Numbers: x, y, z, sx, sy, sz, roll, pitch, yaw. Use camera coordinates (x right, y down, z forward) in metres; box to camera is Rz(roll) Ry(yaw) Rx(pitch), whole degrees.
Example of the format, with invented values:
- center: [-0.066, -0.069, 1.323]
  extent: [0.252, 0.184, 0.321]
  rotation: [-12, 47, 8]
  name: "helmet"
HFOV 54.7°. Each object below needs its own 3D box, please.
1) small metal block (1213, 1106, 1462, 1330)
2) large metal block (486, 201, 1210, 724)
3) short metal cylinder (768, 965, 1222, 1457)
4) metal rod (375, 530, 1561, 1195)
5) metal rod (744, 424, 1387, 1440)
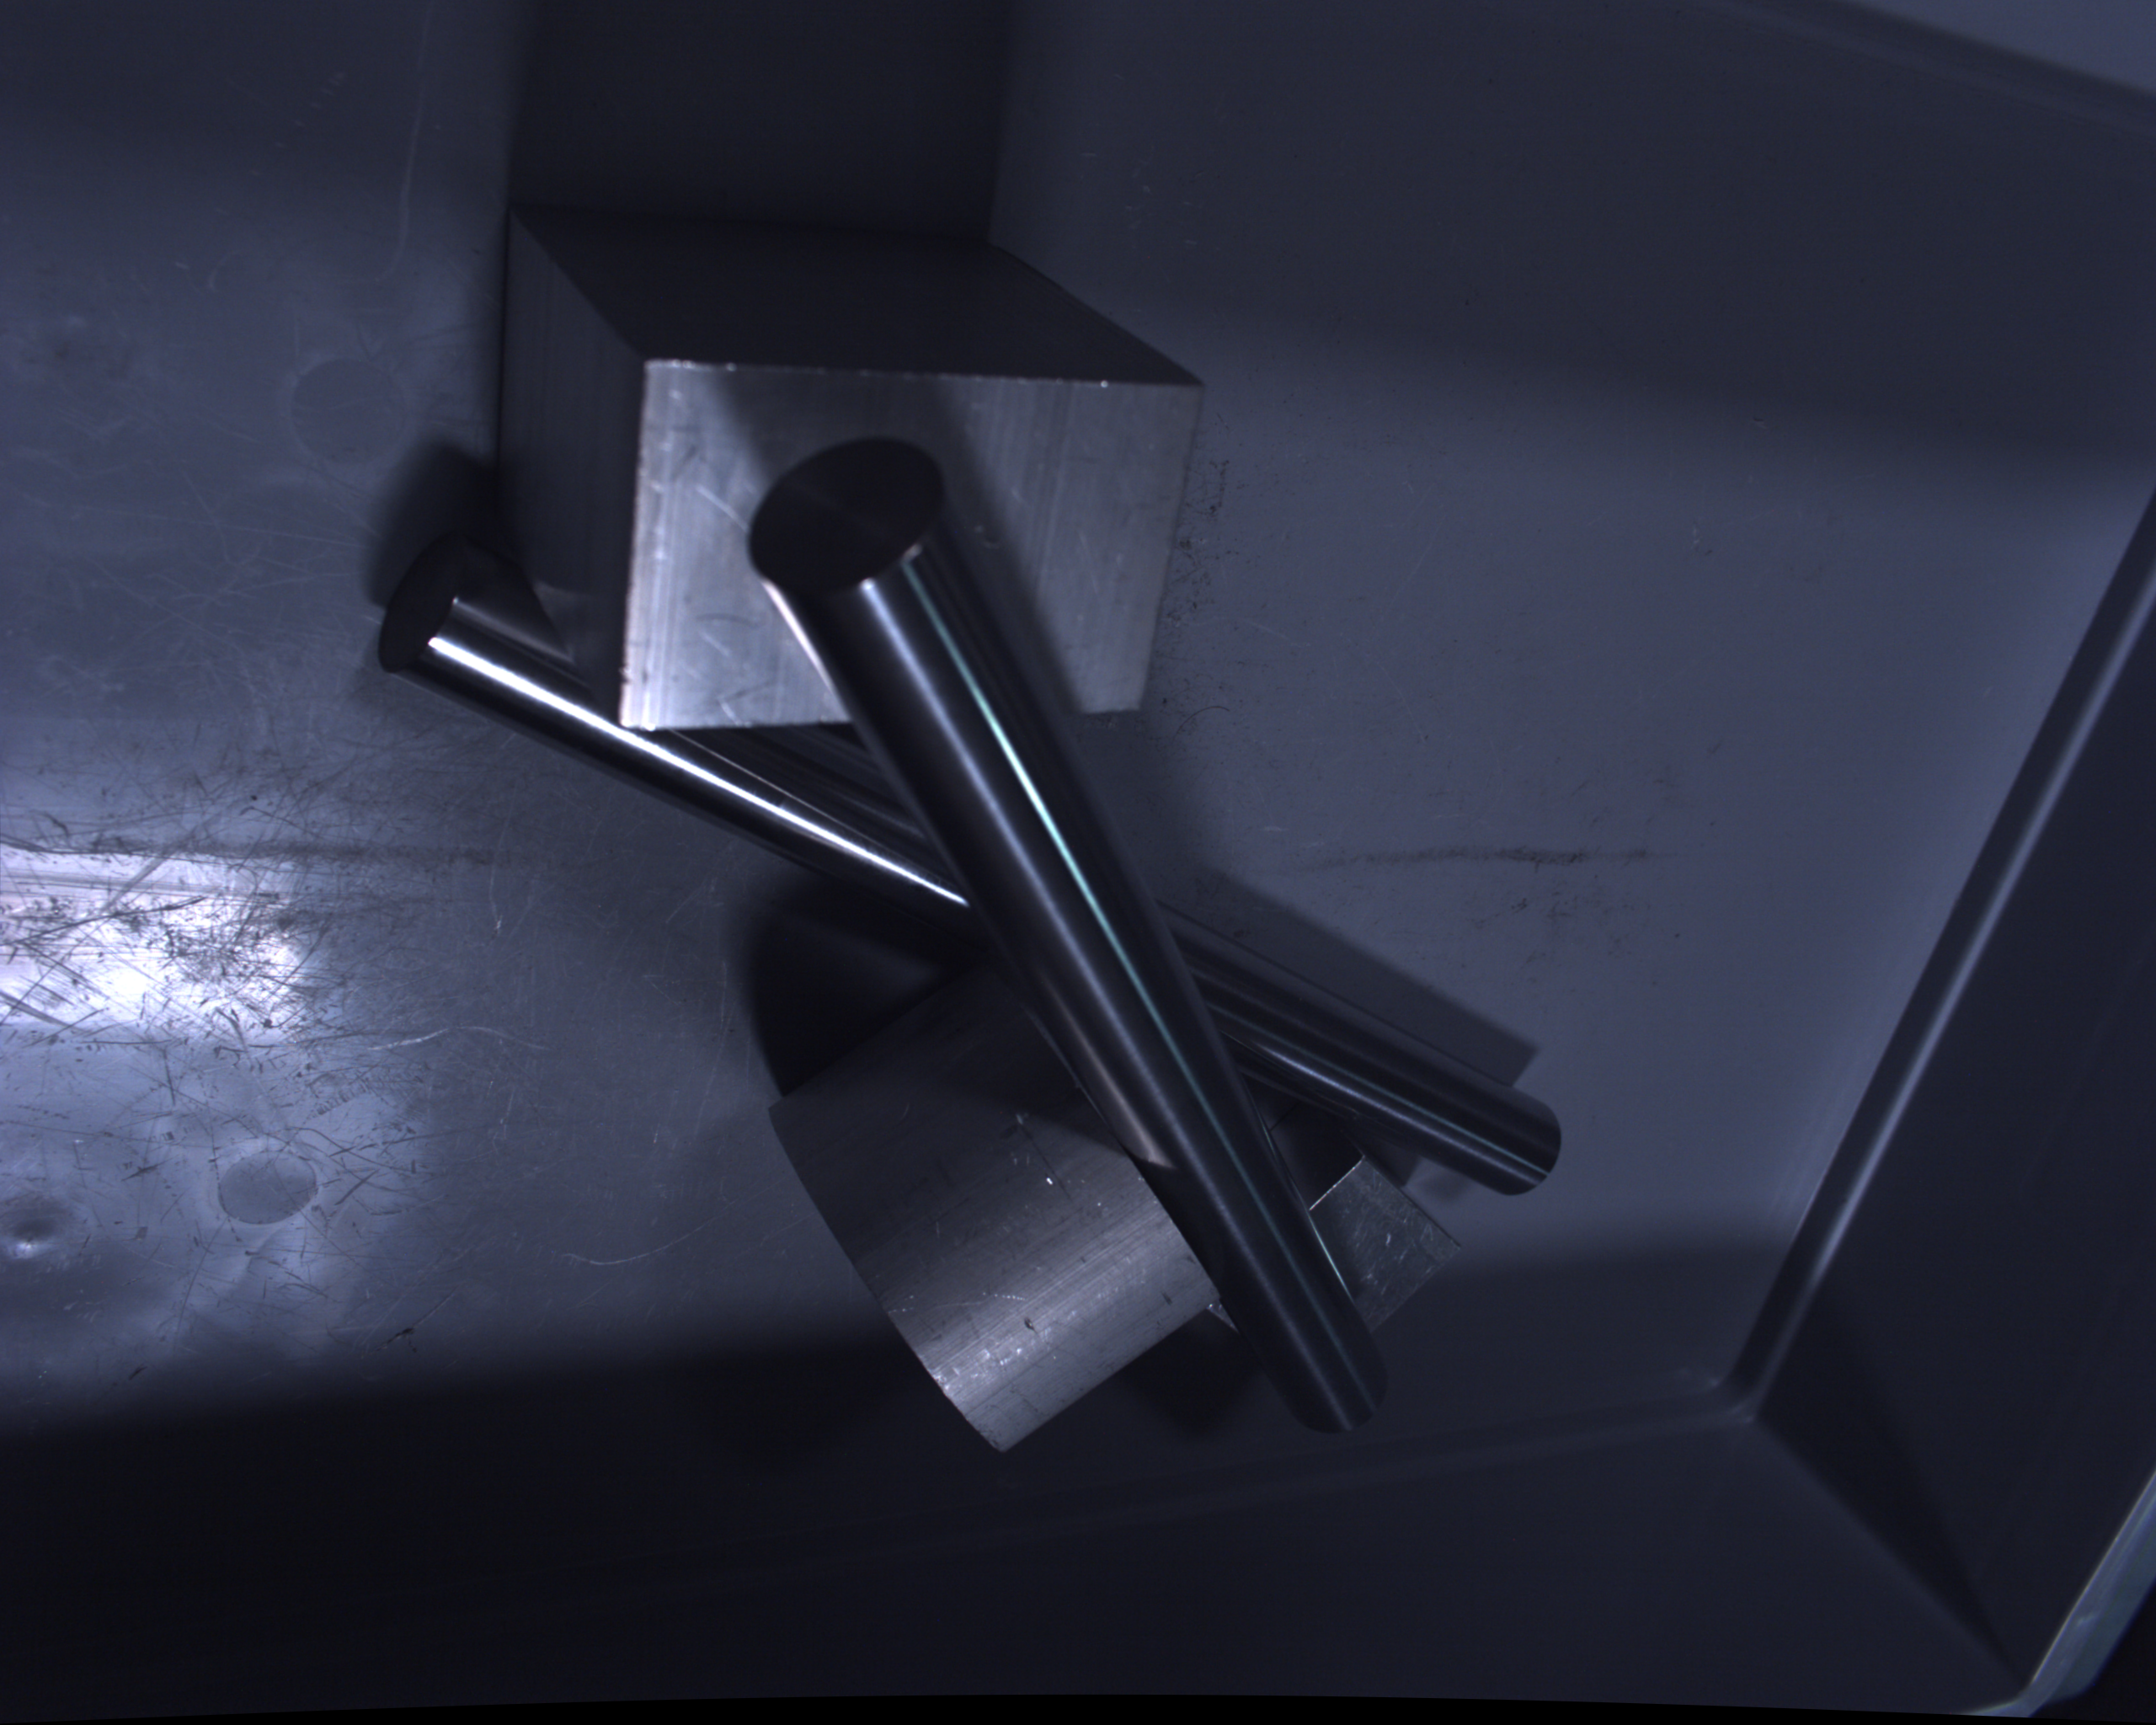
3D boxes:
- center: [0.055, 0.091, 0.496]
  extent: [0.050, 0.025, 0.050]
  rotation: [-44, 130, 2]
  name: "small metal block"
- center: [-0.039, -0.062, 0.314]
  extent: [0.081, 0.080, 0.050]
  rotation: [-4, 120, -27]
  name: "large metal block"
- center: [-0.016, 0.067, 0.404]
  extent: [0.050, 0.080, 0.080]
  rotation: [-35, 129, -6]
  name: "short metal cylinder"
- center: [0.002, 0.014, 0.419]
  extent: [0.301, 0.025, 0.025]
  rotation: [28, 103, -38]
  name: "metal rod"
- center: [0.016, 0.039, 0.366]
  extent: [0.025, 0.025, 0.299]
  rotation: [-35, 142, -6]
  name: "metal rod"
